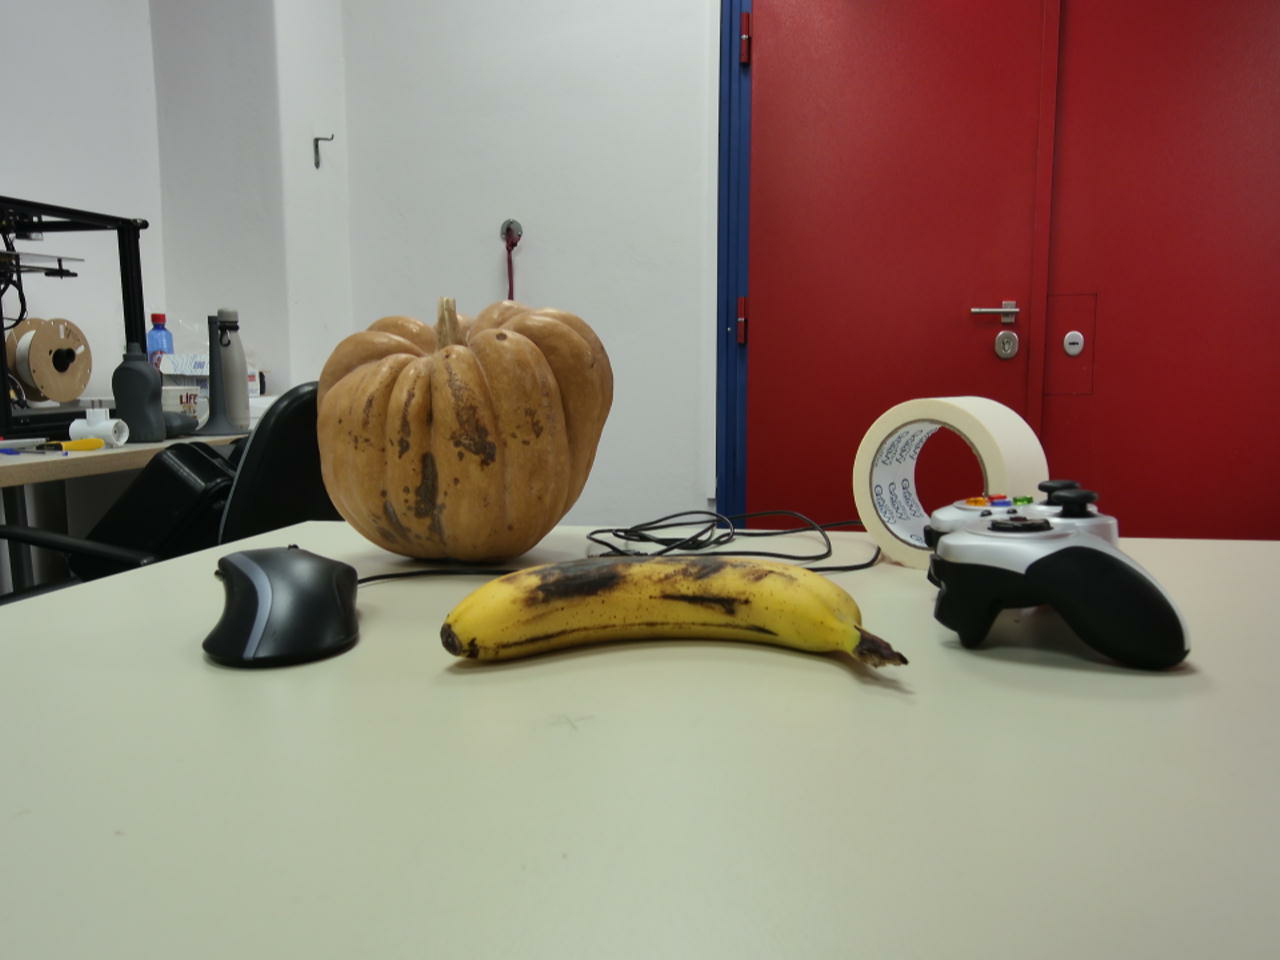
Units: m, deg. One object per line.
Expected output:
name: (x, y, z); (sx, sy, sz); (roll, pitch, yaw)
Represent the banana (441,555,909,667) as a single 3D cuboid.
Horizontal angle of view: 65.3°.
banana: (0.016, 0.057, 0.437); (0.187, 0.039, 0.094); (1, 4, 10)
